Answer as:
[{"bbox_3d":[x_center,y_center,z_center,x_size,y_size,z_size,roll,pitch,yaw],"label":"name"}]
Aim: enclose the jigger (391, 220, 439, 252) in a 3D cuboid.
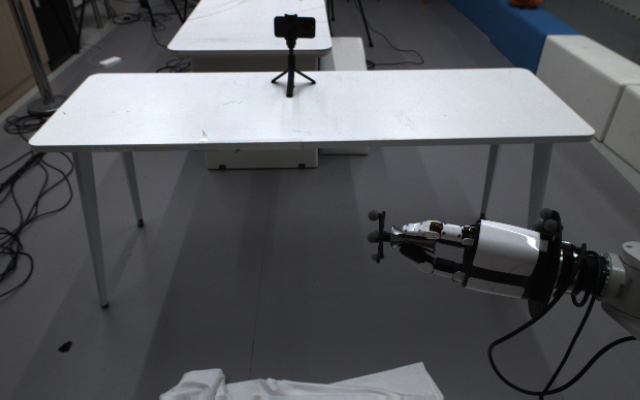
[{"bbox_3d":[0.154,0.056,0.759,0.071,0.043,0.043,2,34,14],"label":"jigger"}]
